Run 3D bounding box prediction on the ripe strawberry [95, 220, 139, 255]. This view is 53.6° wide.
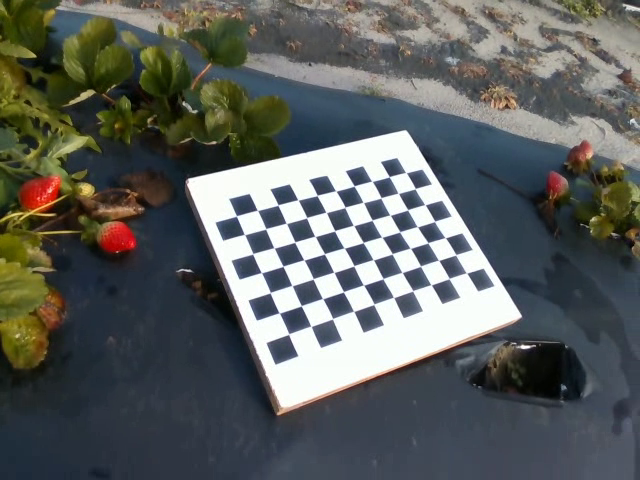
[{"bbox_3d":[-0.197,-0.002,0.606,0.043,0.035,0.030,28,-35,8],"label":"ripe strawberry"}]

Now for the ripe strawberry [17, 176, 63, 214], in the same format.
[{"bbox_3d":[-0.274,-0.050,0.612,0.048,0.040,0.031,-44,-17,11],"label":"ripe strawberry"}]
